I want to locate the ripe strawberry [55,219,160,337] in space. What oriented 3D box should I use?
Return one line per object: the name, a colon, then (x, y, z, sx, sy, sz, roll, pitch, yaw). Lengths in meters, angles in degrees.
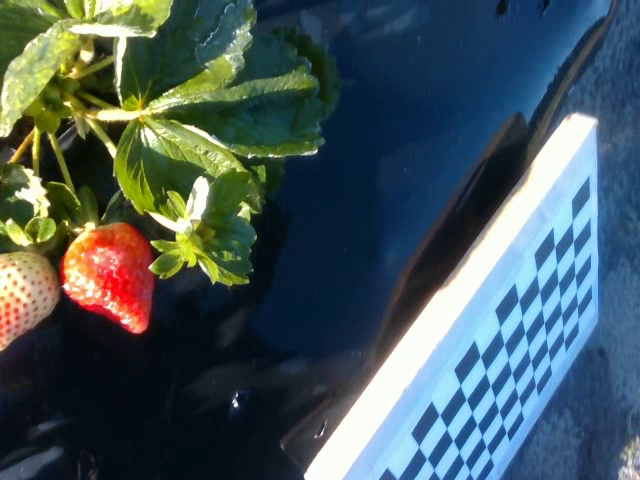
ripe strawberry: (-0.078, 0.019, 0.247, 0.040, 0.056, 0.037, -40, -33, 15)
